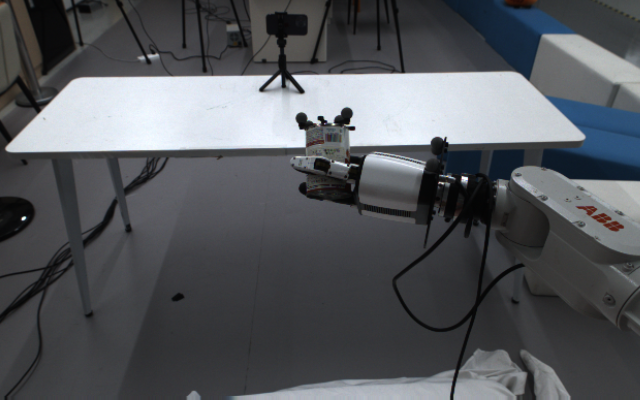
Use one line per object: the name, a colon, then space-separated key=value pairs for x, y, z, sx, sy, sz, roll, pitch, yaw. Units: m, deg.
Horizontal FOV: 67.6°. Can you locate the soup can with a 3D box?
soup can: x=0.013 y=-0.055 z=0.715 sx=0.067 sy=0.101 sz=0.067 roll=-1 pitch=-9 yaw=0
